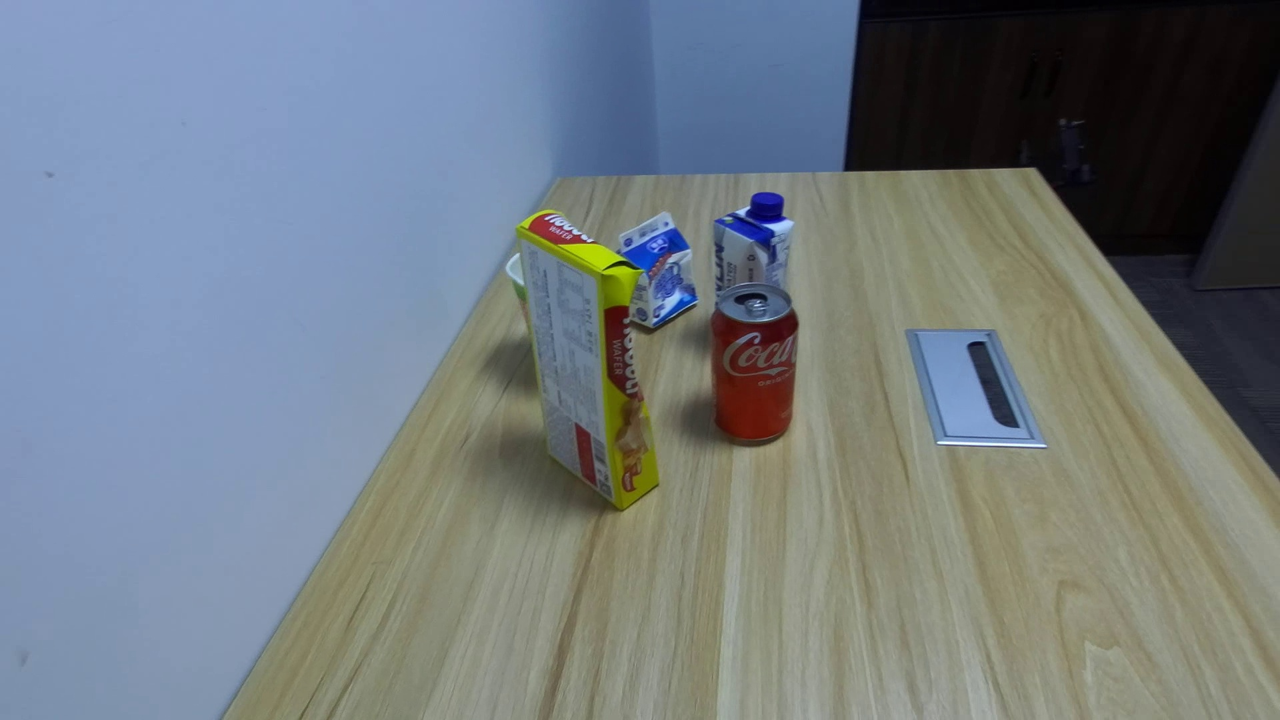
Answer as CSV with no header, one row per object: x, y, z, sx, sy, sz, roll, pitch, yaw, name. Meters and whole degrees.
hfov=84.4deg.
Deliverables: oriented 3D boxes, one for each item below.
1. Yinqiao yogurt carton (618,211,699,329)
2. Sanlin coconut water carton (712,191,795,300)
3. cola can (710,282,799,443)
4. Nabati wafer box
0.010,-0.093,0.716,0.077,0.094,0.070,-31,37,-32,Yinqiao yogurt carton
0.100,-0.074,0.634,0.061,0.144,0.060,-27,42,-28,Sanlin coconut water carton
0.089,0.002,0.554,0.068,0.120,0.067,-3,35,2,cola can
-0.032,0.005,0.494,0.042,0.205,0.106,-30,42,-31,Nabati wafer box
